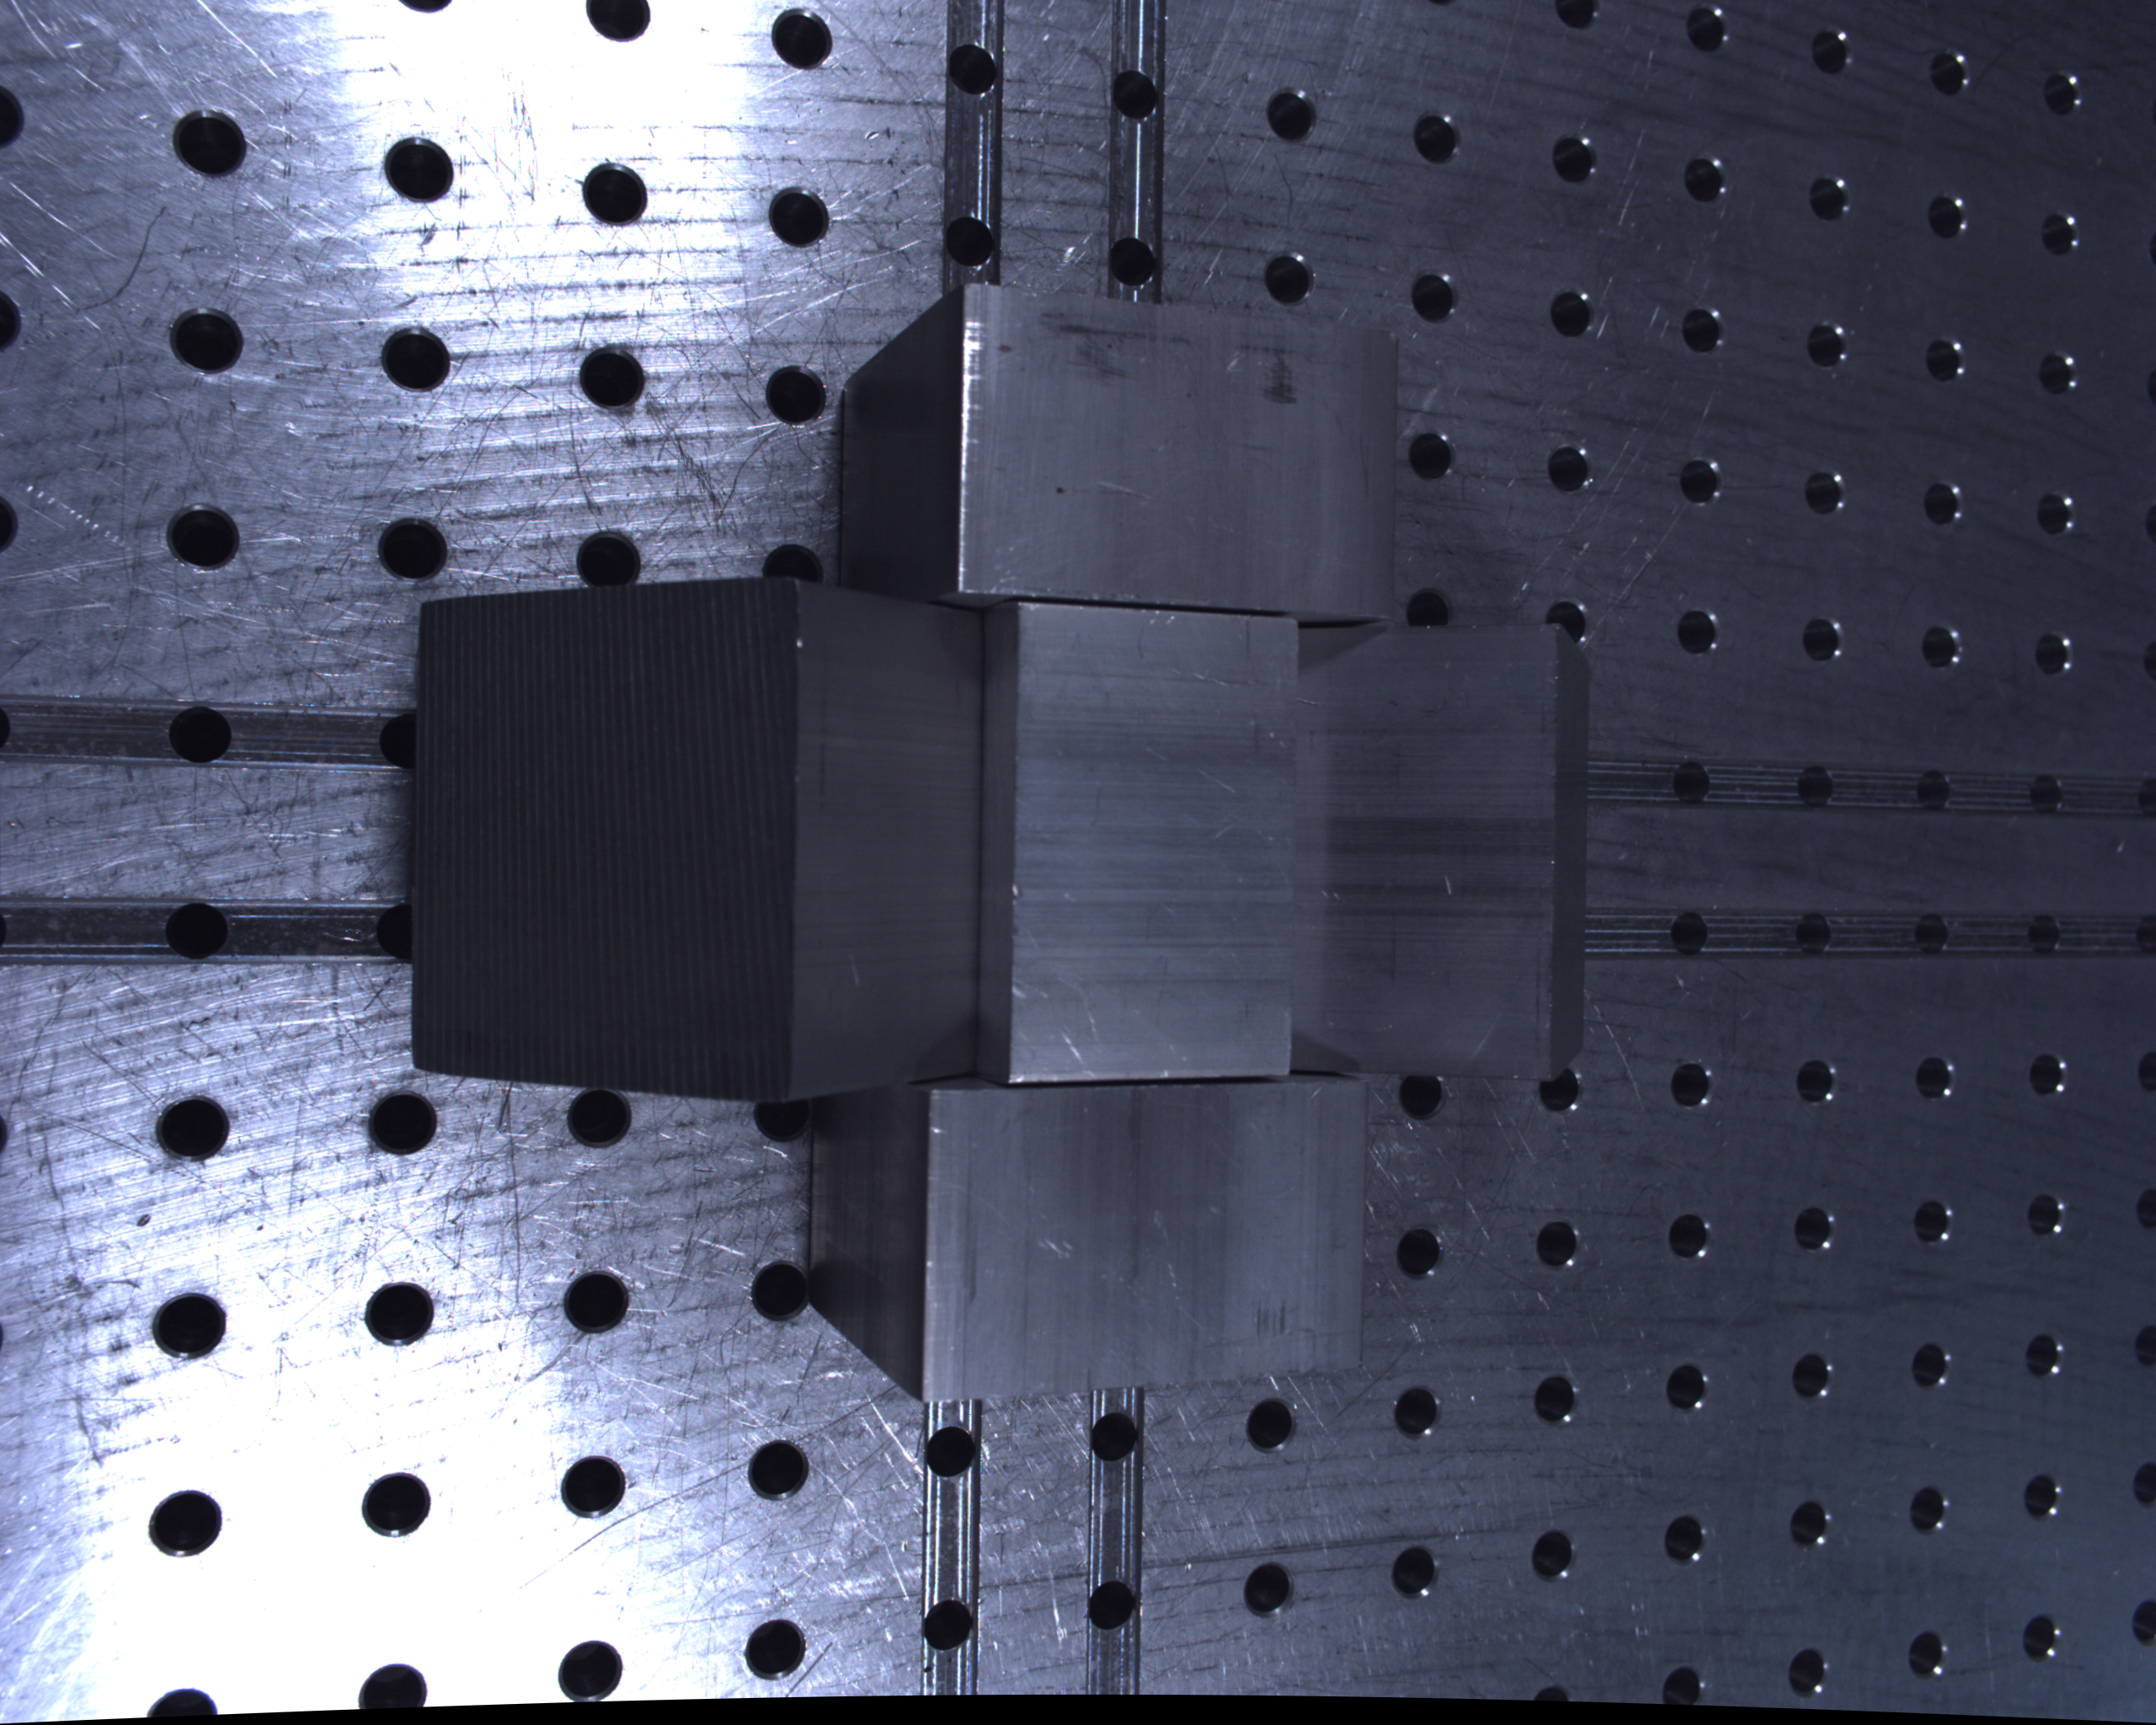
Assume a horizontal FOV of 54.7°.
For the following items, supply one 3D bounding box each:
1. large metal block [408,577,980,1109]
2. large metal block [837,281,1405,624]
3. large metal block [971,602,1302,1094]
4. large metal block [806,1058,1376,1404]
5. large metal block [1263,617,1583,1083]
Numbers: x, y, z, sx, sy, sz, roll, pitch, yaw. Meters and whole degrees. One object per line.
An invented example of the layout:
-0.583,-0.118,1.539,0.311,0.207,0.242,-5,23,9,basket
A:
-0.065,-0.004,0.353,0.050,0.080,0.079,0,91,-60,large metal block
0.005,-0.068,0.385,0.081,0.080,0.050,1,90,-20,large metal block
0.000,-0.002,0.383,0.050,0.080,0.079,1,90,-20,large metal block
-0.001,0.061,0.383,0.081,0.080,0.050,1,90,-20,large metal block
0.069,-0.002,0.401,0.050,0.080,0.079,1,89,17,large metal block
